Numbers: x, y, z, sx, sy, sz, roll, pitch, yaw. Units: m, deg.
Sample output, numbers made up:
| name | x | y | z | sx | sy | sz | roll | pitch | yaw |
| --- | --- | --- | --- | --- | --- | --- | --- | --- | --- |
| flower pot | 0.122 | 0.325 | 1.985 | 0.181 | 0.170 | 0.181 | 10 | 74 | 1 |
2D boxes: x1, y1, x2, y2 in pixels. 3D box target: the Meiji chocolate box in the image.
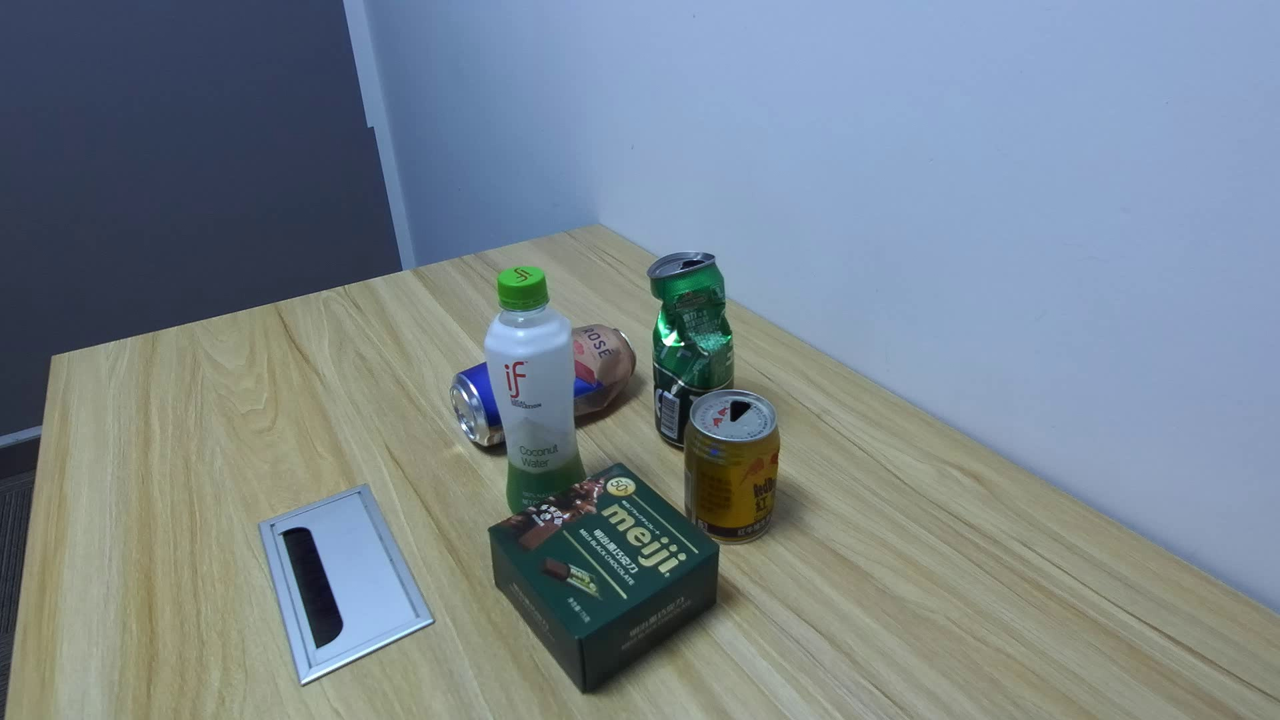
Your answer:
| name | x | y | z | sx | sy | sz | roll | pitch | yaw |
| --- | --- | --- | --- | --- | --- | --- | --- | --- | --- |
| Meiji chocolate box | -0.023 | 0.134 | 0.456 | 0.109 | 0.056 | 0.109 | -23 | 38 | -31 |

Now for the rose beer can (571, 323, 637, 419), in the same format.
| name | x | y | z | sx | sy | sz | roll | pitch | yaw |
| --- | --- | --- | --- | --- | --- | --- | --- | --- | --- |
| rose beer can | -0.085 | 0.018 | 0.643 | 0.168 | 0.069 | 0.069 | -21 | 19 | -27 |

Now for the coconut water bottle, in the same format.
| name | x | y | z | sx | sy | sz | roll | pitch | yaw |
| --- | --- | --- | --- | --- | --- | --- | --- | --- | --- |
| coconut water bottle | -0.073 | 0.027 | 0.499 | 0.063 | 0.189 | 0.063 | -2 | 30 | 1 |

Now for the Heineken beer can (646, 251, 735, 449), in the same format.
| name | x | y | z | sx | sy | sz | roll | pitch | yaw |
| --- | --- | --- | --- | --- | --- | --- | --- | --- | --- |
| Heineken beer can | 0.045 | -0.004 | 0.576 | 0.078 | 0.159 | 0.067 | 9 | 26 | 31 |

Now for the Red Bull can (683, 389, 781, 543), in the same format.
| name | x | y | z | sx | sy | sz | roll | pitch | yaw |
| --- | --- | --- | --- | --- | --- | --- | --- | --- | --- |
| Red Bull can | 0.065 | 0.076 | 0.505 | 0.069 | 0.092 | 0.069 | -1 | 31 | 1 |
